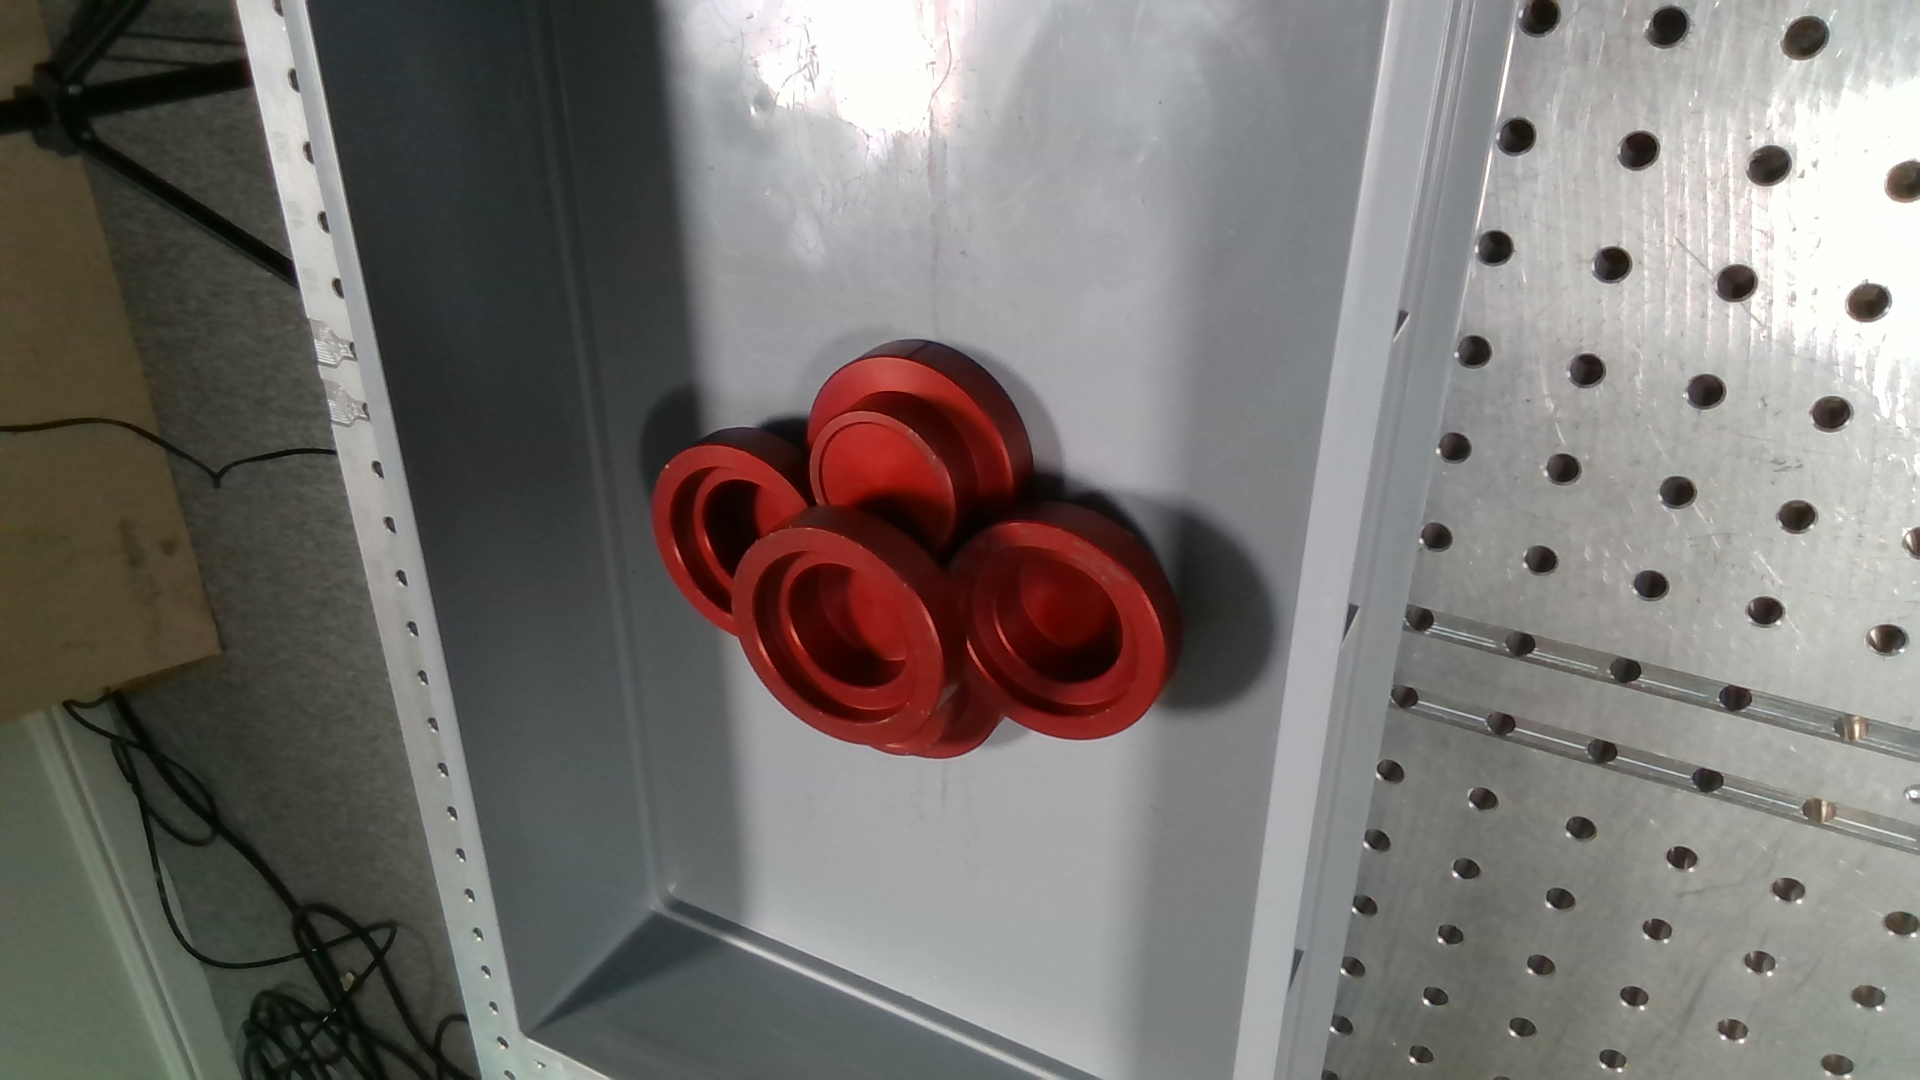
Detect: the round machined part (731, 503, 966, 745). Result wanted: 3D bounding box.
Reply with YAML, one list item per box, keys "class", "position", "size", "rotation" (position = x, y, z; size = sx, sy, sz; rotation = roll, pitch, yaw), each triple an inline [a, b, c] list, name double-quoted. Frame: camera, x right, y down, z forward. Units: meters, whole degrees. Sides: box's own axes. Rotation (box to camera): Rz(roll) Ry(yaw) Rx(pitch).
- class: "round machined part"
  position: [-0.040, 0.030, 0.553]
  size: [0.098, 0.042, 0.098]
  rotation: [14, 122, 25]

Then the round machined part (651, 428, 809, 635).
- class: "round machined part"
  position: [-0.087, -0.006, 0.617]
  size: [0.098, 0.042, 0.098]
  rotation: [14, 122, 25]

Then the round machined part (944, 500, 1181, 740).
- class: "round machined part"
  position: [0.043, 0.028, 0.555]
  size: [0.098, 0.042, 0.098]
  rotation: [14, 122, 25]

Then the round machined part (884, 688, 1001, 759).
- class: "round machined part"
  position: [-0.026, 0.057, 0.613]
  size: [0.098, 0.042, 0.098]
  rotation: [14, 122, 25]

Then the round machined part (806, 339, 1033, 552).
- class: "round machined part"
  position: [-0.023, -0.030, 0.565]
  size: [0.098, 0.042, 0.098]
  rotation: [14, 122, 25]
